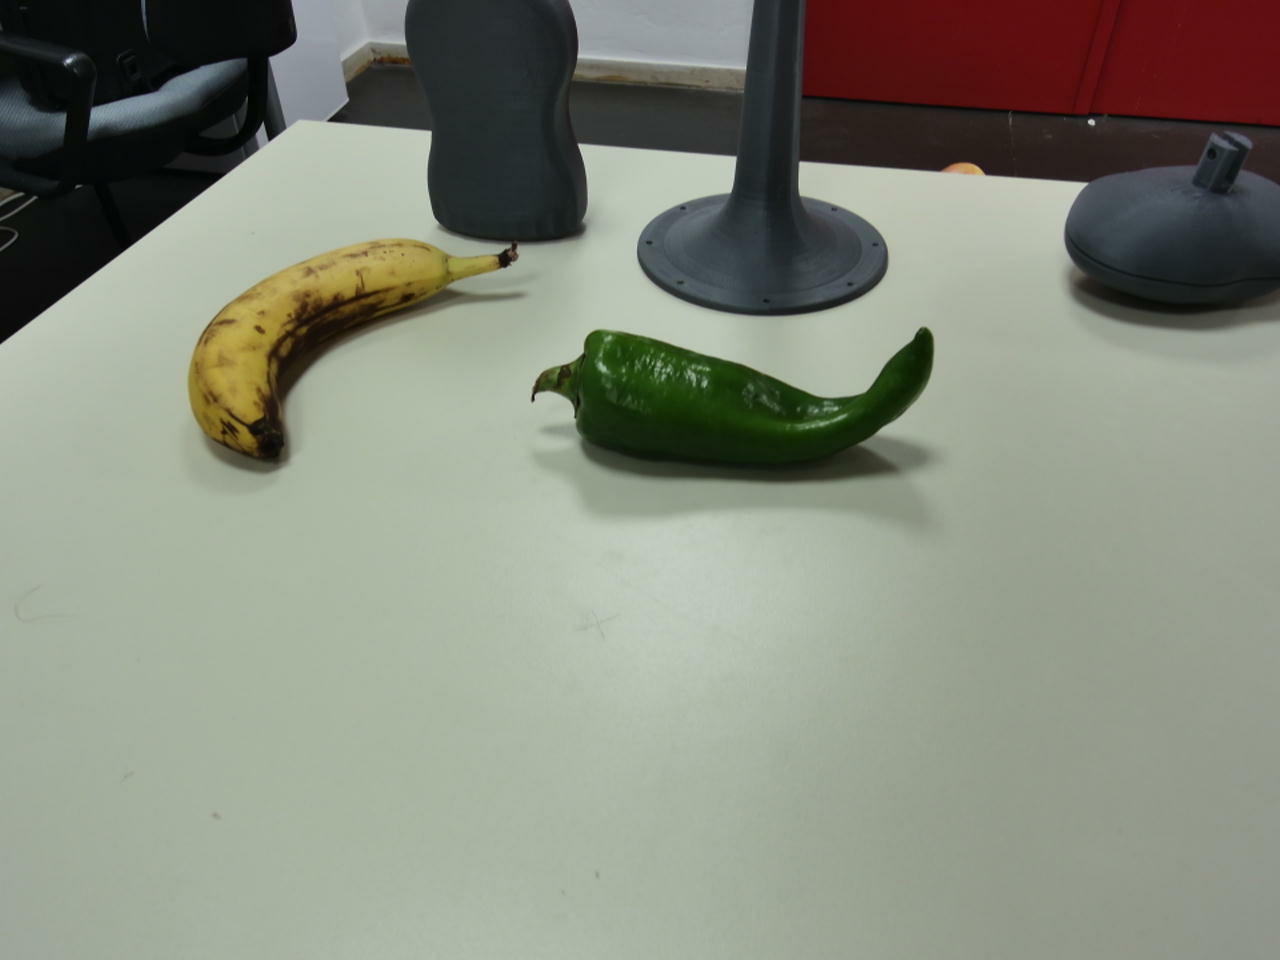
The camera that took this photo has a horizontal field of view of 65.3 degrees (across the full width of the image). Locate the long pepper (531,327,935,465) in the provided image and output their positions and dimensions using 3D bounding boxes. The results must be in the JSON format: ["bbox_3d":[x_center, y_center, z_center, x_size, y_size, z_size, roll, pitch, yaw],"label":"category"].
[{"bbox_3d":[0.036,-0.041,0.439,0.175,0.065,0.058,7,39,10],"label":"long pepper"}]
